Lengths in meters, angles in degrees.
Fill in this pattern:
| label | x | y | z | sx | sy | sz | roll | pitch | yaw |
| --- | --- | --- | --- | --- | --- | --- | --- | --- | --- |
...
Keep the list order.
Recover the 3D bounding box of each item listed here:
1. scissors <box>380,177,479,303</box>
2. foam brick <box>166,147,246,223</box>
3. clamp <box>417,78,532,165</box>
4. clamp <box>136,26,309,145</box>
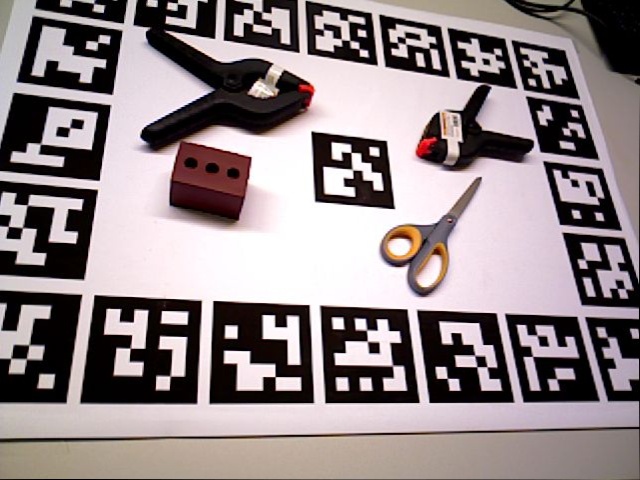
| label | x | y | z | sx | sy | sz | roll | pitch | yaw |
| --- | --- | --- | --- | --- | --- | --- | --- | --- | --- |
| scissors | 0.146 | -0.017 | 0.654 | 0.088 | 0.016 | 0.198 | 43 | 60 | -4 |
| foam brick | -0.120 | -0.058 | 0.581 | 0.077 | 0.052 | 0.052 | 9 | 65 | -7 |
| clamp | 0.198 | -0.146 | 0.724 | 0.162 | 0.037 | 0.122 | -24 | 82 | -24 |
| clamp | -0.113 | -0.178 | 0.643 | 0.200 | 0.037 | 0.164 | 0 | 63 | -17 |
